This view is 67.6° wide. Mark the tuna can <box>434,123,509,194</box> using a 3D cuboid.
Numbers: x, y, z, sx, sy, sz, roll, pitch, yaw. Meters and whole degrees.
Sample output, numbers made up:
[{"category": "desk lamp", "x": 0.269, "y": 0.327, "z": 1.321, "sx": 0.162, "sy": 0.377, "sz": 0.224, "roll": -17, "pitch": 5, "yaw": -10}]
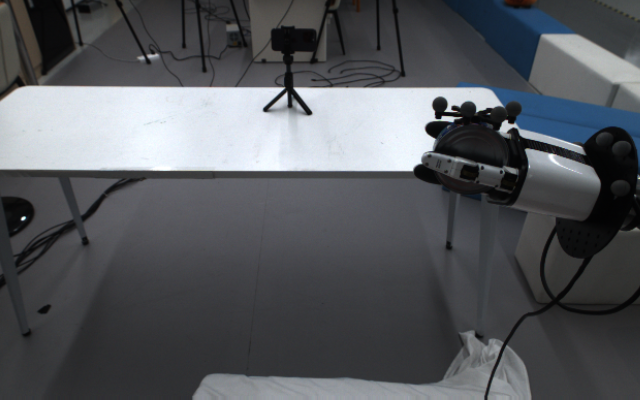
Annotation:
[{"category": "tuna can", "x": 0.177, "y": -0.054, "z": 0.572, "sx": 0.085, "sy": 0.085, "sz": 0.034, "roll": 9, "pitch": 24, "yaw": 10}]
